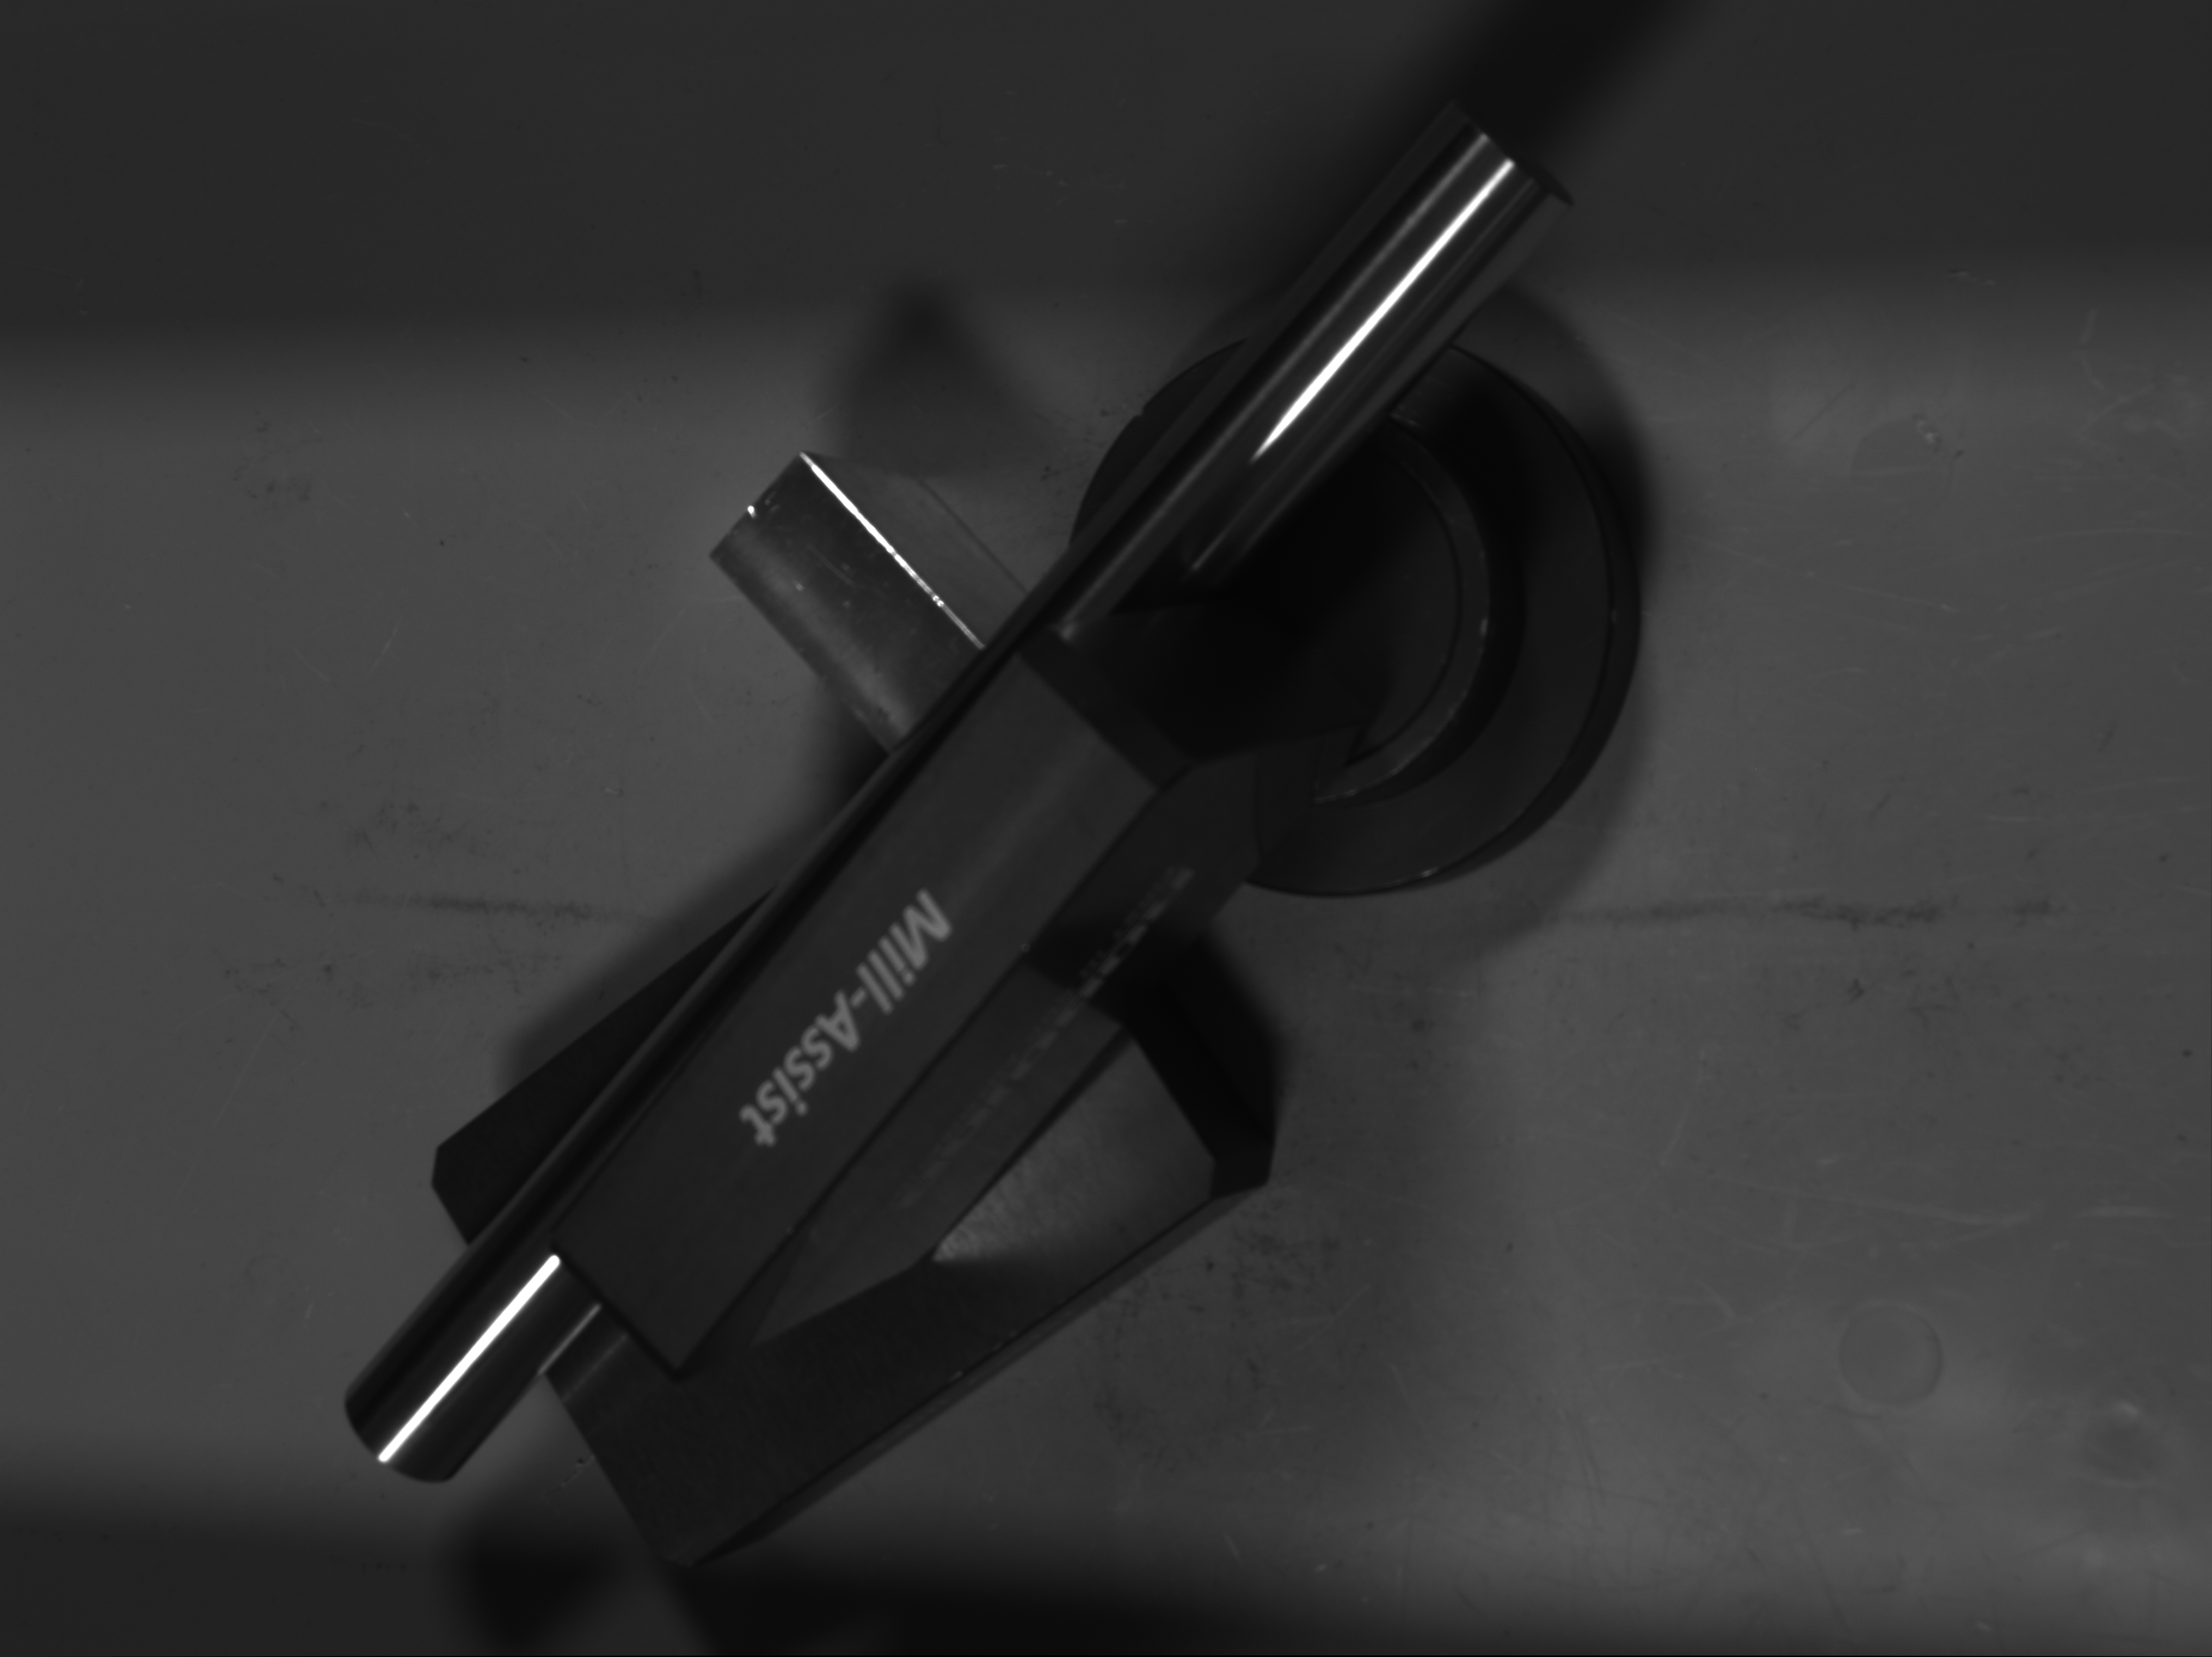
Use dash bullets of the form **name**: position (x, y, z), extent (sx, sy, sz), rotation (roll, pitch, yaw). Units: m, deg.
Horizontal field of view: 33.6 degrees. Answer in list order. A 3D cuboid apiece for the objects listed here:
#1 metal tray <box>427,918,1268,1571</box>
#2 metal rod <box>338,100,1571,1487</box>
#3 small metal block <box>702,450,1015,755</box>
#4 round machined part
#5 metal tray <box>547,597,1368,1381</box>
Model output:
- **metal tray**: position (-0.048, 0.061, 0.657), extent (0.130, 0.030, 0.090), rotation (-37, 78, 16)
- **metal rod**: position (-0.032, 0.002, 0.613), extent (0.025, 0.025, 0.300), rotation (46, 108, 14)
- **small metal block**: position (-0.036, -0.038, 0.643), extent (0.025, 0.050, 0.050), rotation (-46, 76, 14)
- **round machined part**: position (0.037, -0.037, 0.621), extent (0.098, 0.042, 0.098), rotation (0, 90, 20)
- **metal tray**: position (-0.022, 0.023, 0.576), extent (0.030, 0.090, 0.130), rotation (44, 110, 12)
